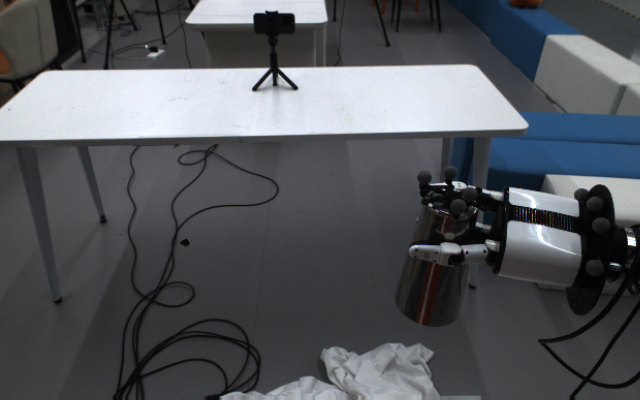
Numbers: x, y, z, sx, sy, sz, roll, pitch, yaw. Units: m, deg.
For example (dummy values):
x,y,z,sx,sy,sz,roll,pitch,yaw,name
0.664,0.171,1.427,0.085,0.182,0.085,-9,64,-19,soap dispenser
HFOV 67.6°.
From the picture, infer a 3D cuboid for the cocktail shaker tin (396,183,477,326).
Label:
x,y,z,sx,sy,sz,roll,pitch,yaw,name
0.160,0.068,0.641,0.093,0.170,0.093,2,33,-2,cocktail shaker tin
